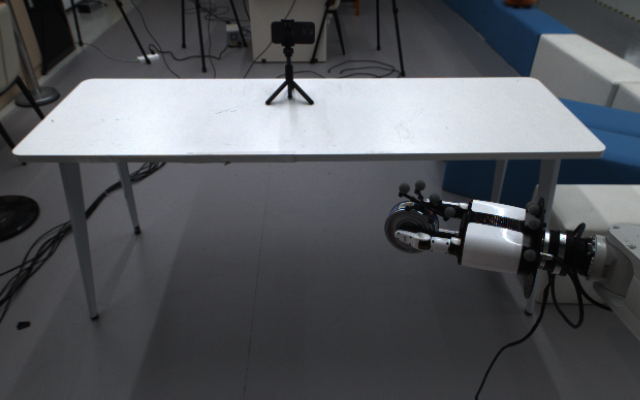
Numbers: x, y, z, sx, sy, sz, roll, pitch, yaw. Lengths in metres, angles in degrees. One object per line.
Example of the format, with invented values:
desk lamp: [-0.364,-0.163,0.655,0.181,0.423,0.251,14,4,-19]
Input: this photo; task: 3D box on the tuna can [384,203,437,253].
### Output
tuna can: [0.154,0.052,0.798,0.085,0.085,0.034,15,31,18]
